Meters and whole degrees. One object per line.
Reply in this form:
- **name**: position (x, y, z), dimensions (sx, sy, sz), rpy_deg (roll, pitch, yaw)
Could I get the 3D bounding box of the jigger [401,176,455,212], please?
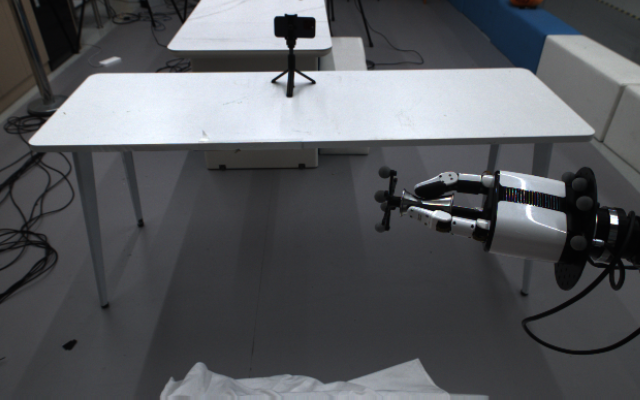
- **jigger**: position (0.153, 0.005, 0.666), dimensions (0.071, 0.043, 0.043), rpy_deg (8, 35, 15)
